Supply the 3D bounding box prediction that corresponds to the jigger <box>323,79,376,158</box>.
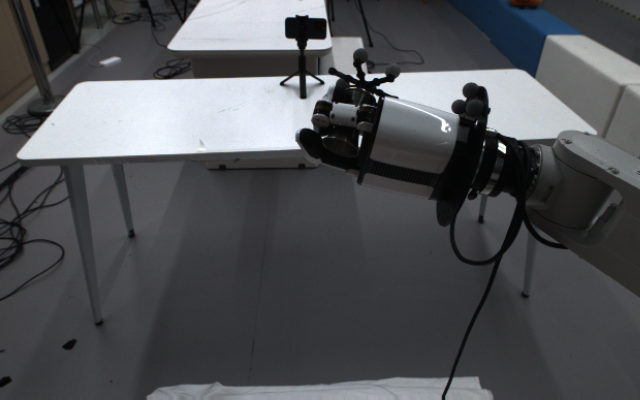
[{"bbox_3d":[0.036,-0.089,0.549,0.043,0.043,0.071,14,70,17],"label":"jigger"}]
